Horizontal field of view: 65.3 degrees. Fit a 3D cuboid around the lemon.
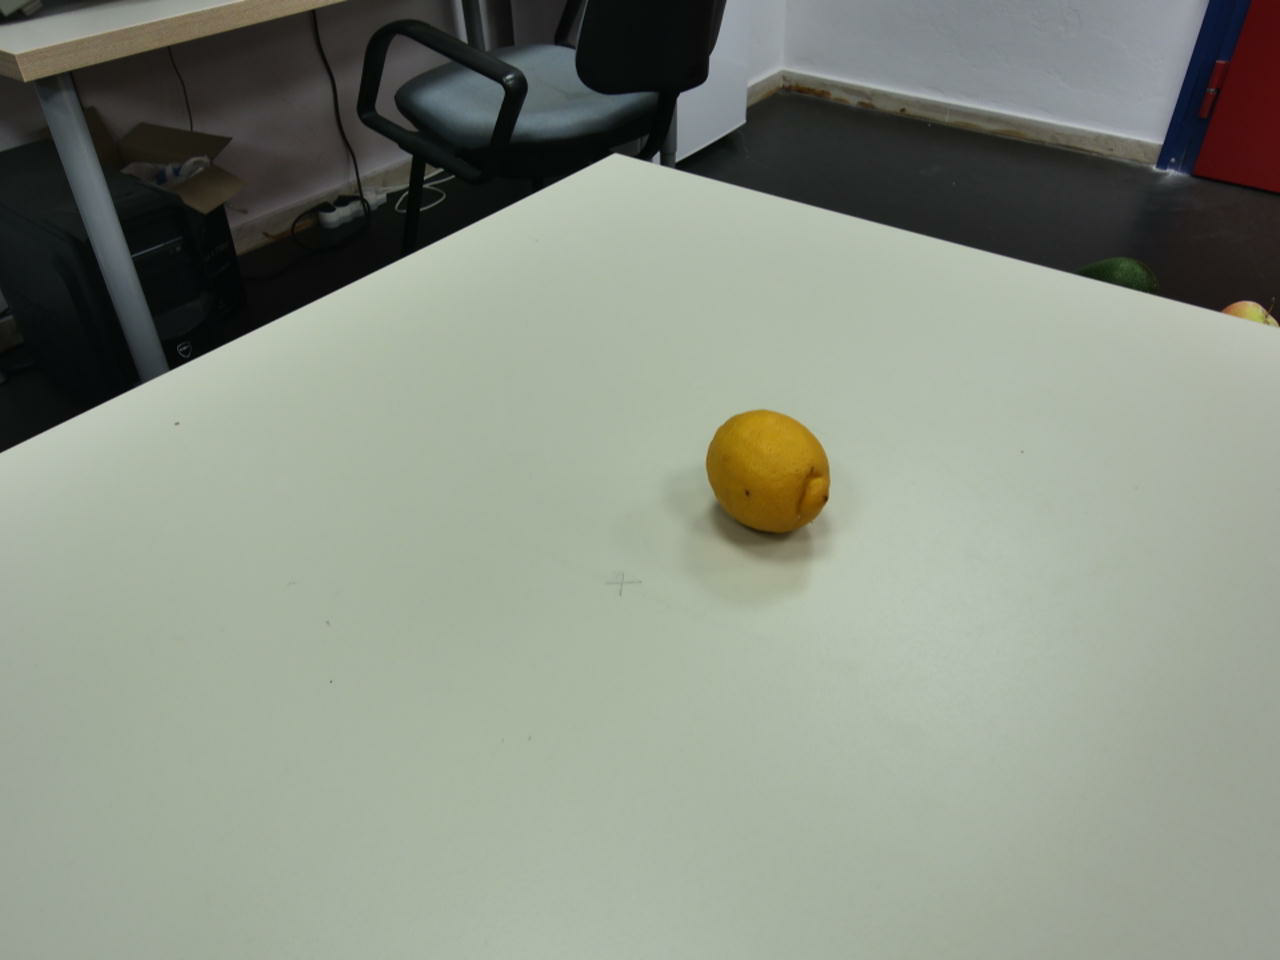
[{"bbox_3d":[0.066,-0.004,0.516,0.061,0.059,0.067,-6,37,-8],"label":"lemon"}]
